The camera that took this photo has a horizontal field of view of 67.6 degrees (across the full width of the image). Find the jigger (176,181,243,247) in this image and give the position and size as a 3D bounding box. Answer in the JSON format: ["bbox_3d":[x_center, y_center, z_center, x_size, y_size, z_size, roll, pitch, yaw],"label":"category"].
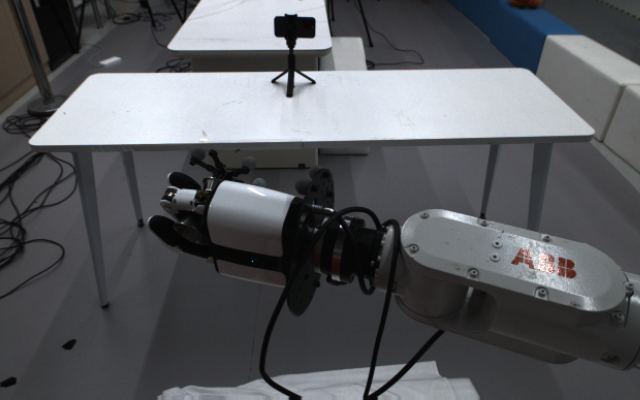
[{"bbox_3d":[-0.128,0.012,0.551,0.043,0.043,0.071,13,58,16],"label":"jigger"}]
